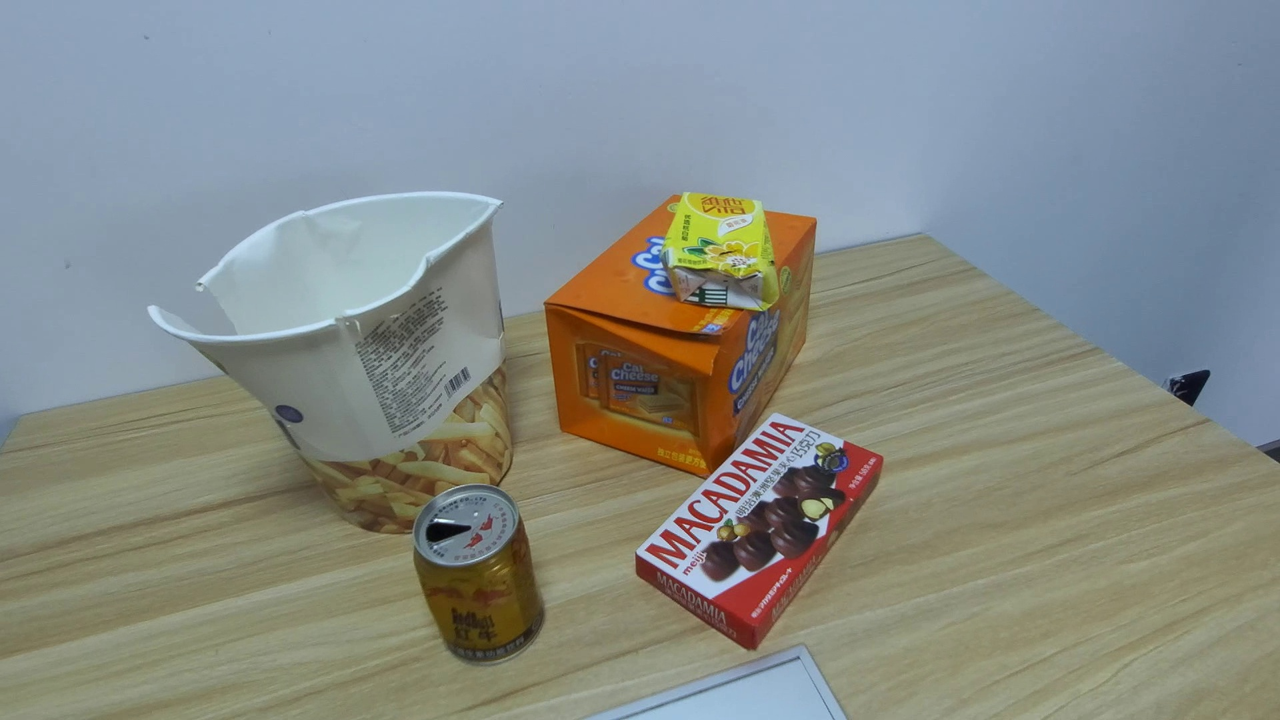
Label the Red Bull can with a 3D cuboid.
[{"bbox_3d":[-0.095,0.128,0.423,0.068,0.093,0.068,-3,34,2],"label":"Red Bull can"}]

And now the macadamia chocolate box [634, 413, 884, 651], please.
[{"bbox_3d":[0.087,0.107,0.491,0.095,0.027,0.178,23,43,33],"label":"macadamia chocolate box"}]

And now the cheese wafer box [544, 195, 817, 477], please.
[{"bbox_3d":[0.045,-0.033,0.597,0.149,0.137,0.227,16,40,25],"label":"cheese wafer box"}]

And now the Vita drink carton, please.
[{"bbox_3d":[0.060,-0.079,0.522,0.087,0.042,0.108,8,39,2],"label":"Vita drink carton"}]

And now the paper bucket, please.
[{"bbox_3d":[-0.185,0.006,0.510,0.145,0.197,0.203,6,36,15],"label":"paper bucket"}]
